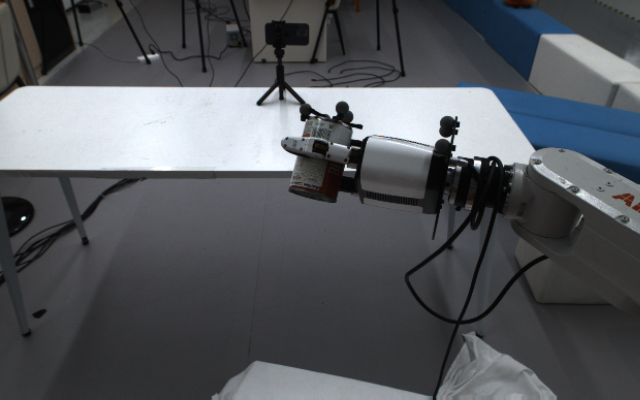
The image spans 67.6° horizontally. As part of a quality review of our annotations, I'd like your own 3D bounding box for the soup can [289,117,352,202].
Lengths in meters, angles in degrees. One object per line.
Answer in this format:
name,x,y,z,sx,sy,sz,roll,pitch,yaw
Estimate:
soup can,0.002,-0.053,0.653,0.067,0.101,0.067,13,-6,1
